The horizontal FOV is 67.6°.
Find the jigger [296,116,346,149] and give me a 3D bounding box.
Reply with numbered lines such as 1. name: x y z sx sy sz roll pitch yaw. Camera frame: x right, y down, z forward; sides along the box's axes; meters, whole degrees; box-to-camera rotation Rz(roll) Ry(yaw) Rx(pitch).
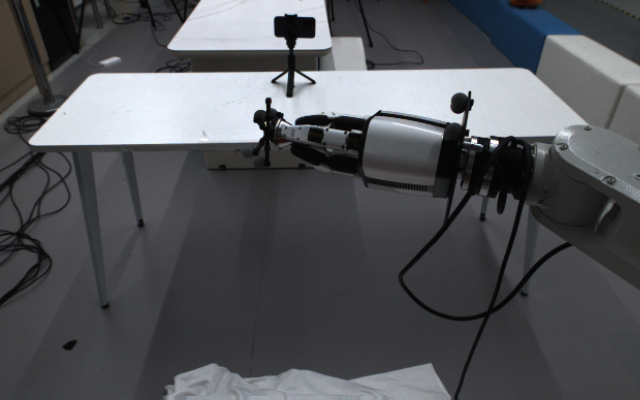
1. jigger: -0.012 -0.083 0.603 0.071 0.043 0.043 8 35 16
